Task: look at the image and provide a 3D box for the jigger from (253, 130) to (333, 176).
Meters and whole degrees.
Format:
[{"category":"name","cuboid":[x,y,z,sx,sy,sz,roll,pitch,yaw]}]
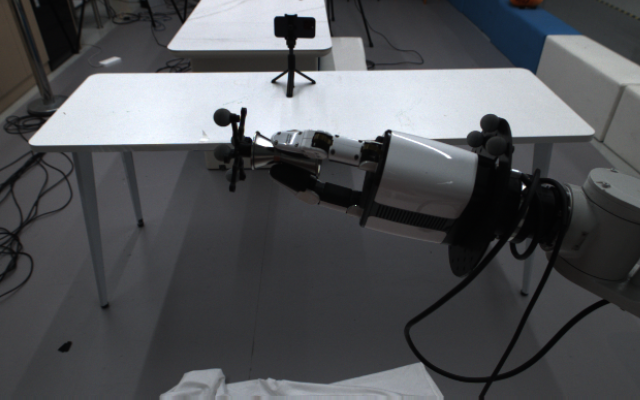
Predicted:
[{"category":"jigger","cuboid":[-0.025,-0.050,0.496,0.071,0.043,0.043,5,35,3]}]
